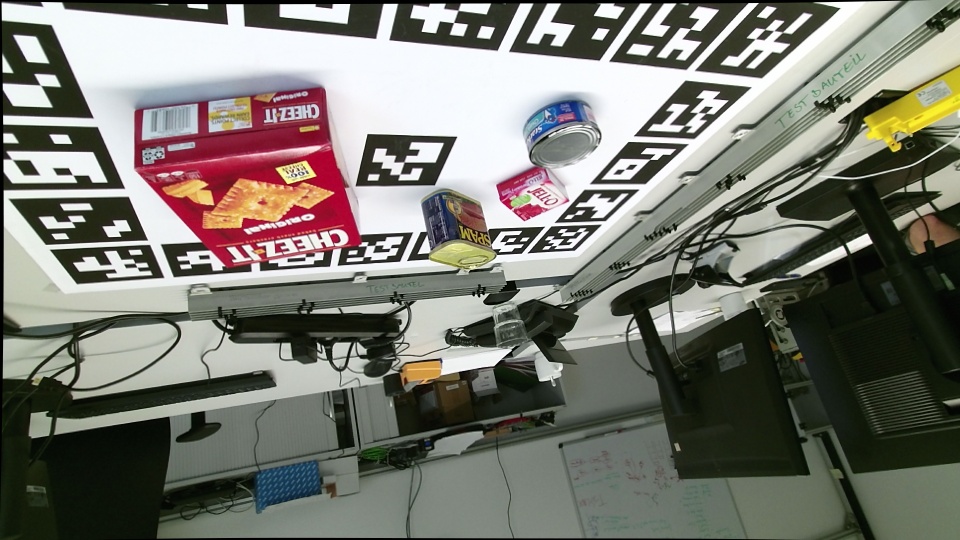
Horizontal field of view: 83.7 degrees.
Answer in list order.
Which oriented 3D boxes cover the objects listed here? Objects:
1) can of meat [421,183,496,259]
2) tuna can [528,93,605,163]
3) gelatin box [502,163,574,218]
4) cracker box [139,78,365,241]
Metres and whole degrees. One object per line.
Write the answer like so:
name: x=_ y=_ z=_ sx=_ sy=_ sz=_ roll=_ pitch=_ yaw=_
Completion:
can of meat: x=-0.032 y=-0.068 z=0.753 sx=0.058 sy=0.083 sz=0.102 roll=-27 pitch=156 yaw=33
tuna can: x=0.100 y=-0.165 z=0.628 sx=0.086 sy=0.033 sz=0.086 roll=-13 pitch=156 yaw=-6
gelatin box: x=0.083 y=-0.112 z=0.764 sx=0.073 sy=0.030 sz=0.089 roll=-20 pitch=156 yaw=23
cracker box: x=-0.222 y=-0.099 z=0.571 sx=0.165 sy=0.071 sz=0.214 roll=-9 pitch=160 yaw=-7
